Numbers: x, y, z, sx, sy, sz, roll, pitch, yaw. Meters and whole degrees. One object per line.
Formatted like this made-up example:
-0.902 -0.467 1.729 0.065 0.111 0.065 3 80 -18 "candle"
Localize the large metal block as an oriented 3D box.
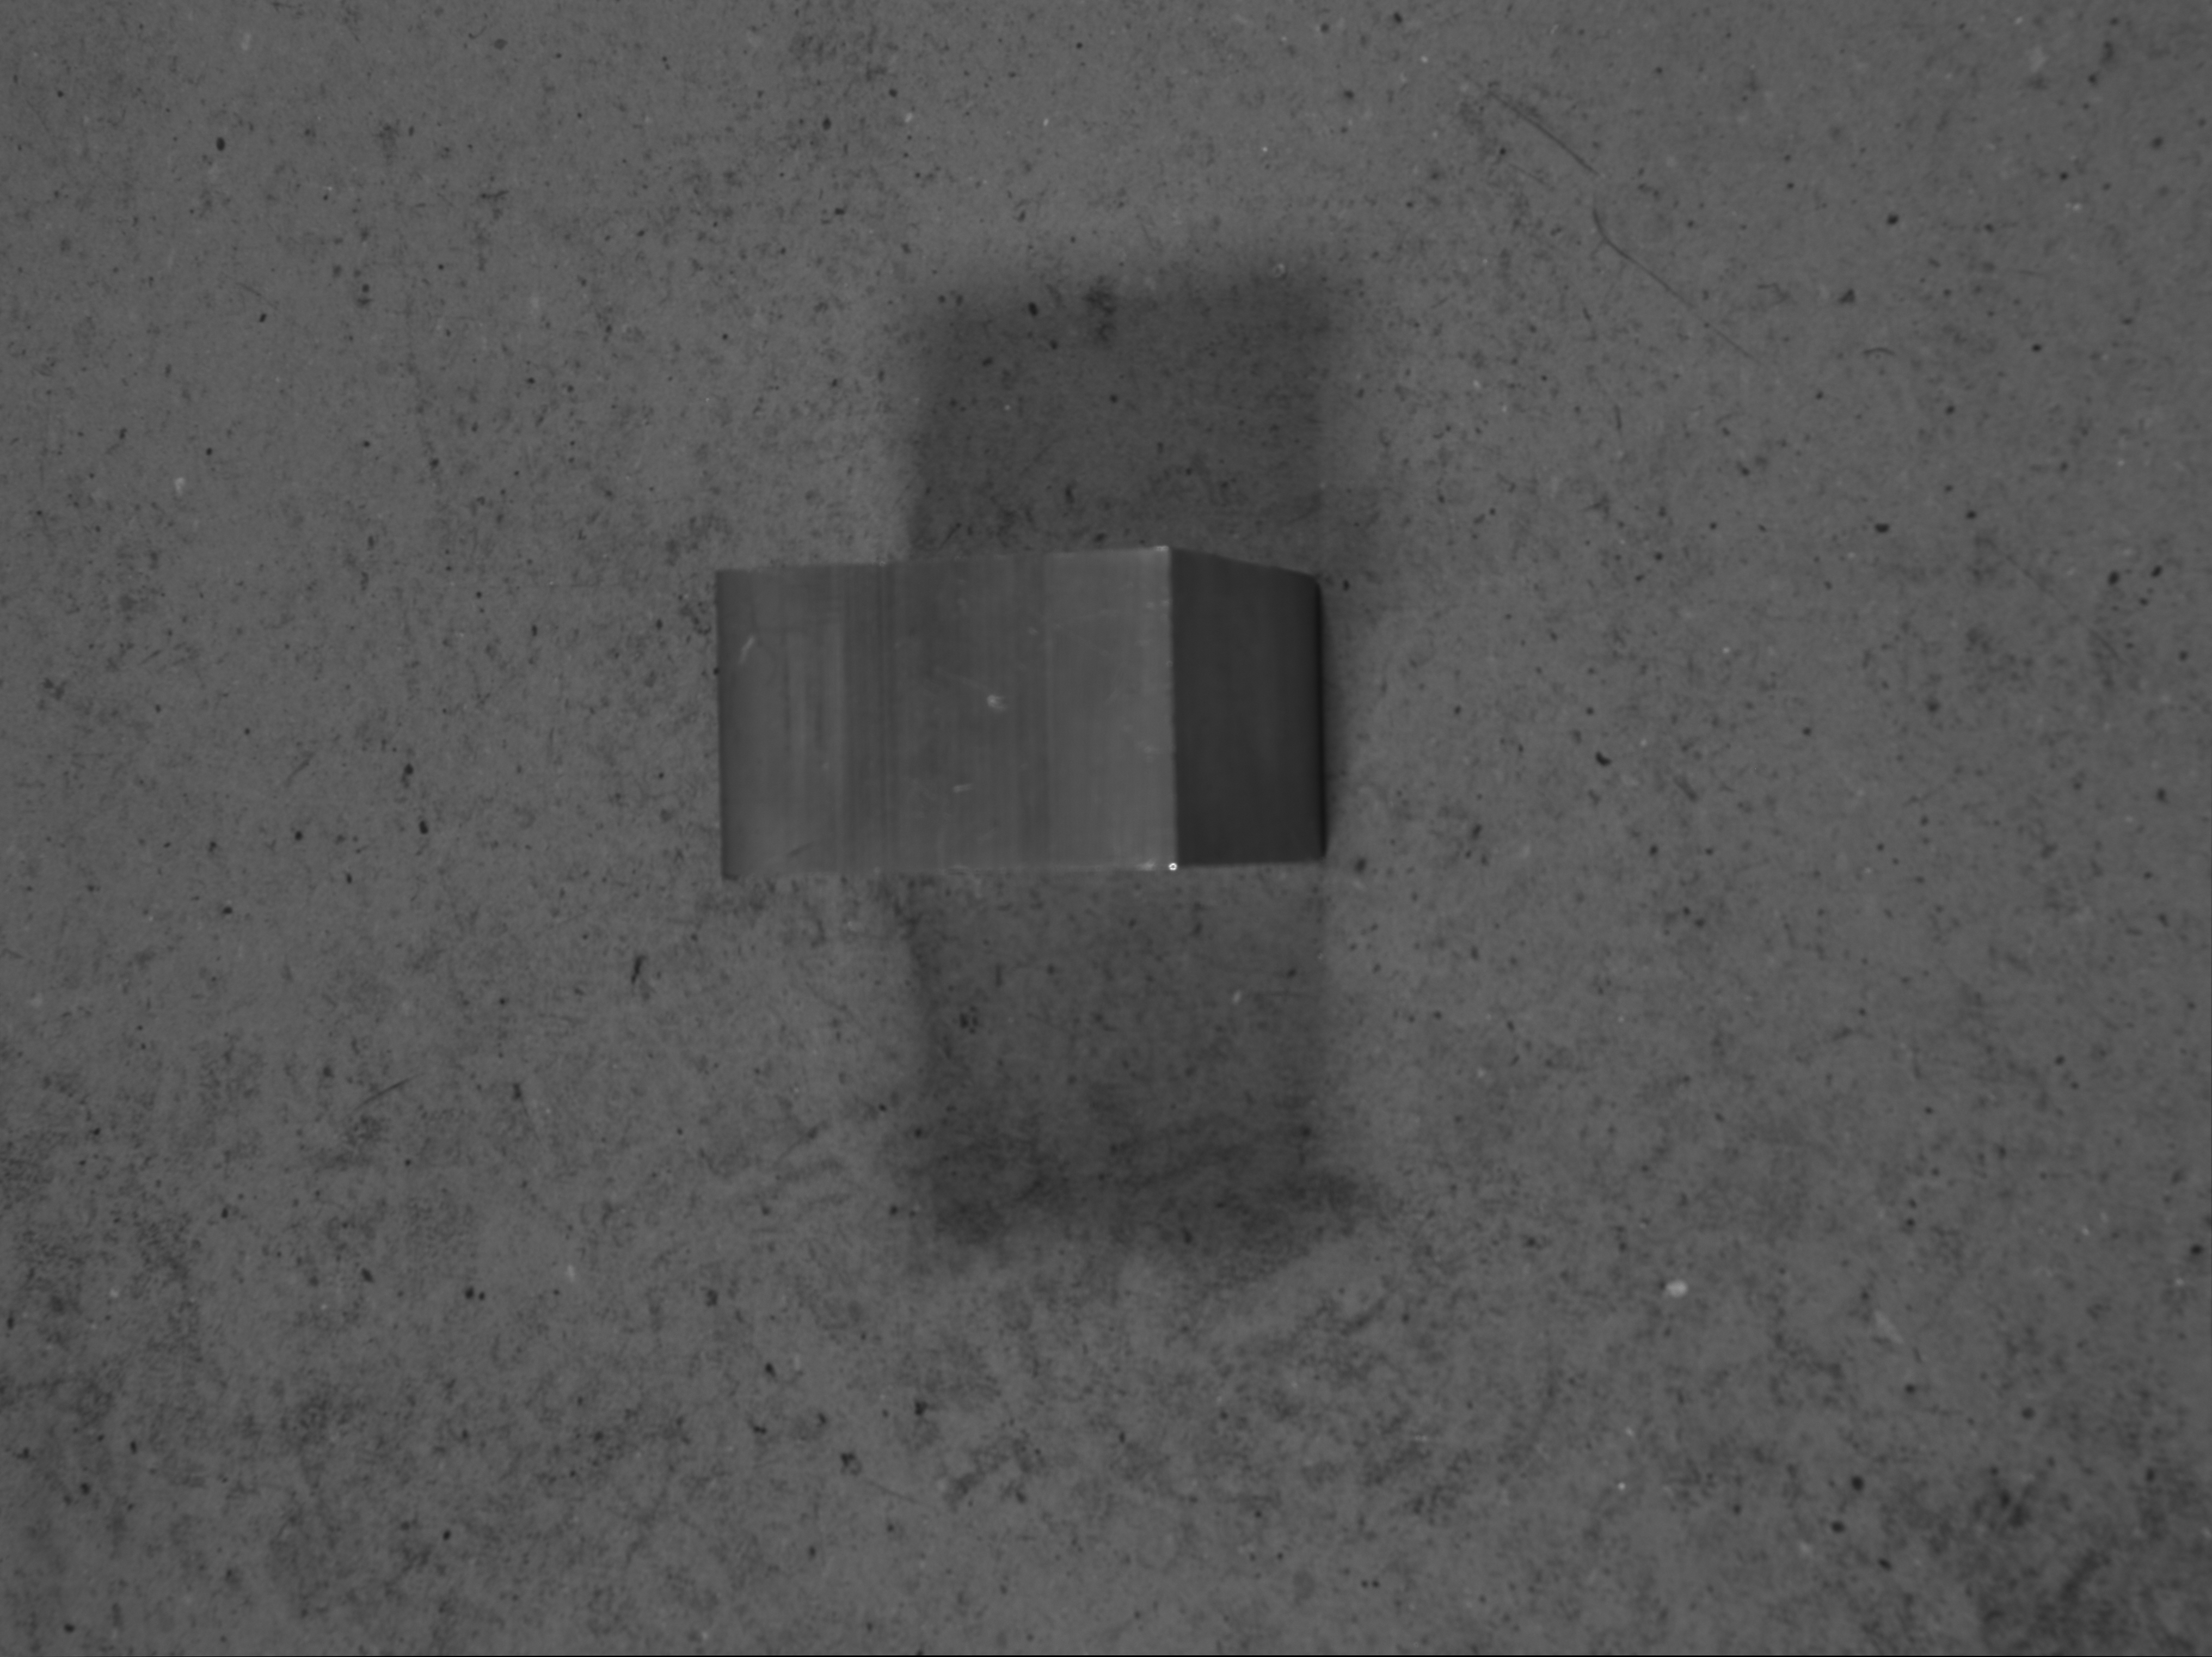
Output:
-0.013 -0.018 0.620 0.080 0.080 0.050 -1 89 20 "large metal block"
